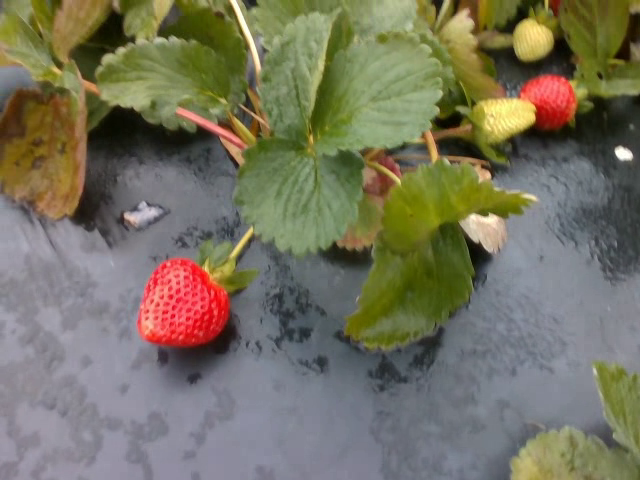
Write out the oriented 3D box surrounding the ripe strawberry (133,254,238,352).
[{"bbox_3d":[-0.067,0.033,0.285,0.045,0.048,0.053,13,31,28],"label":"ripe strawberry"}]
